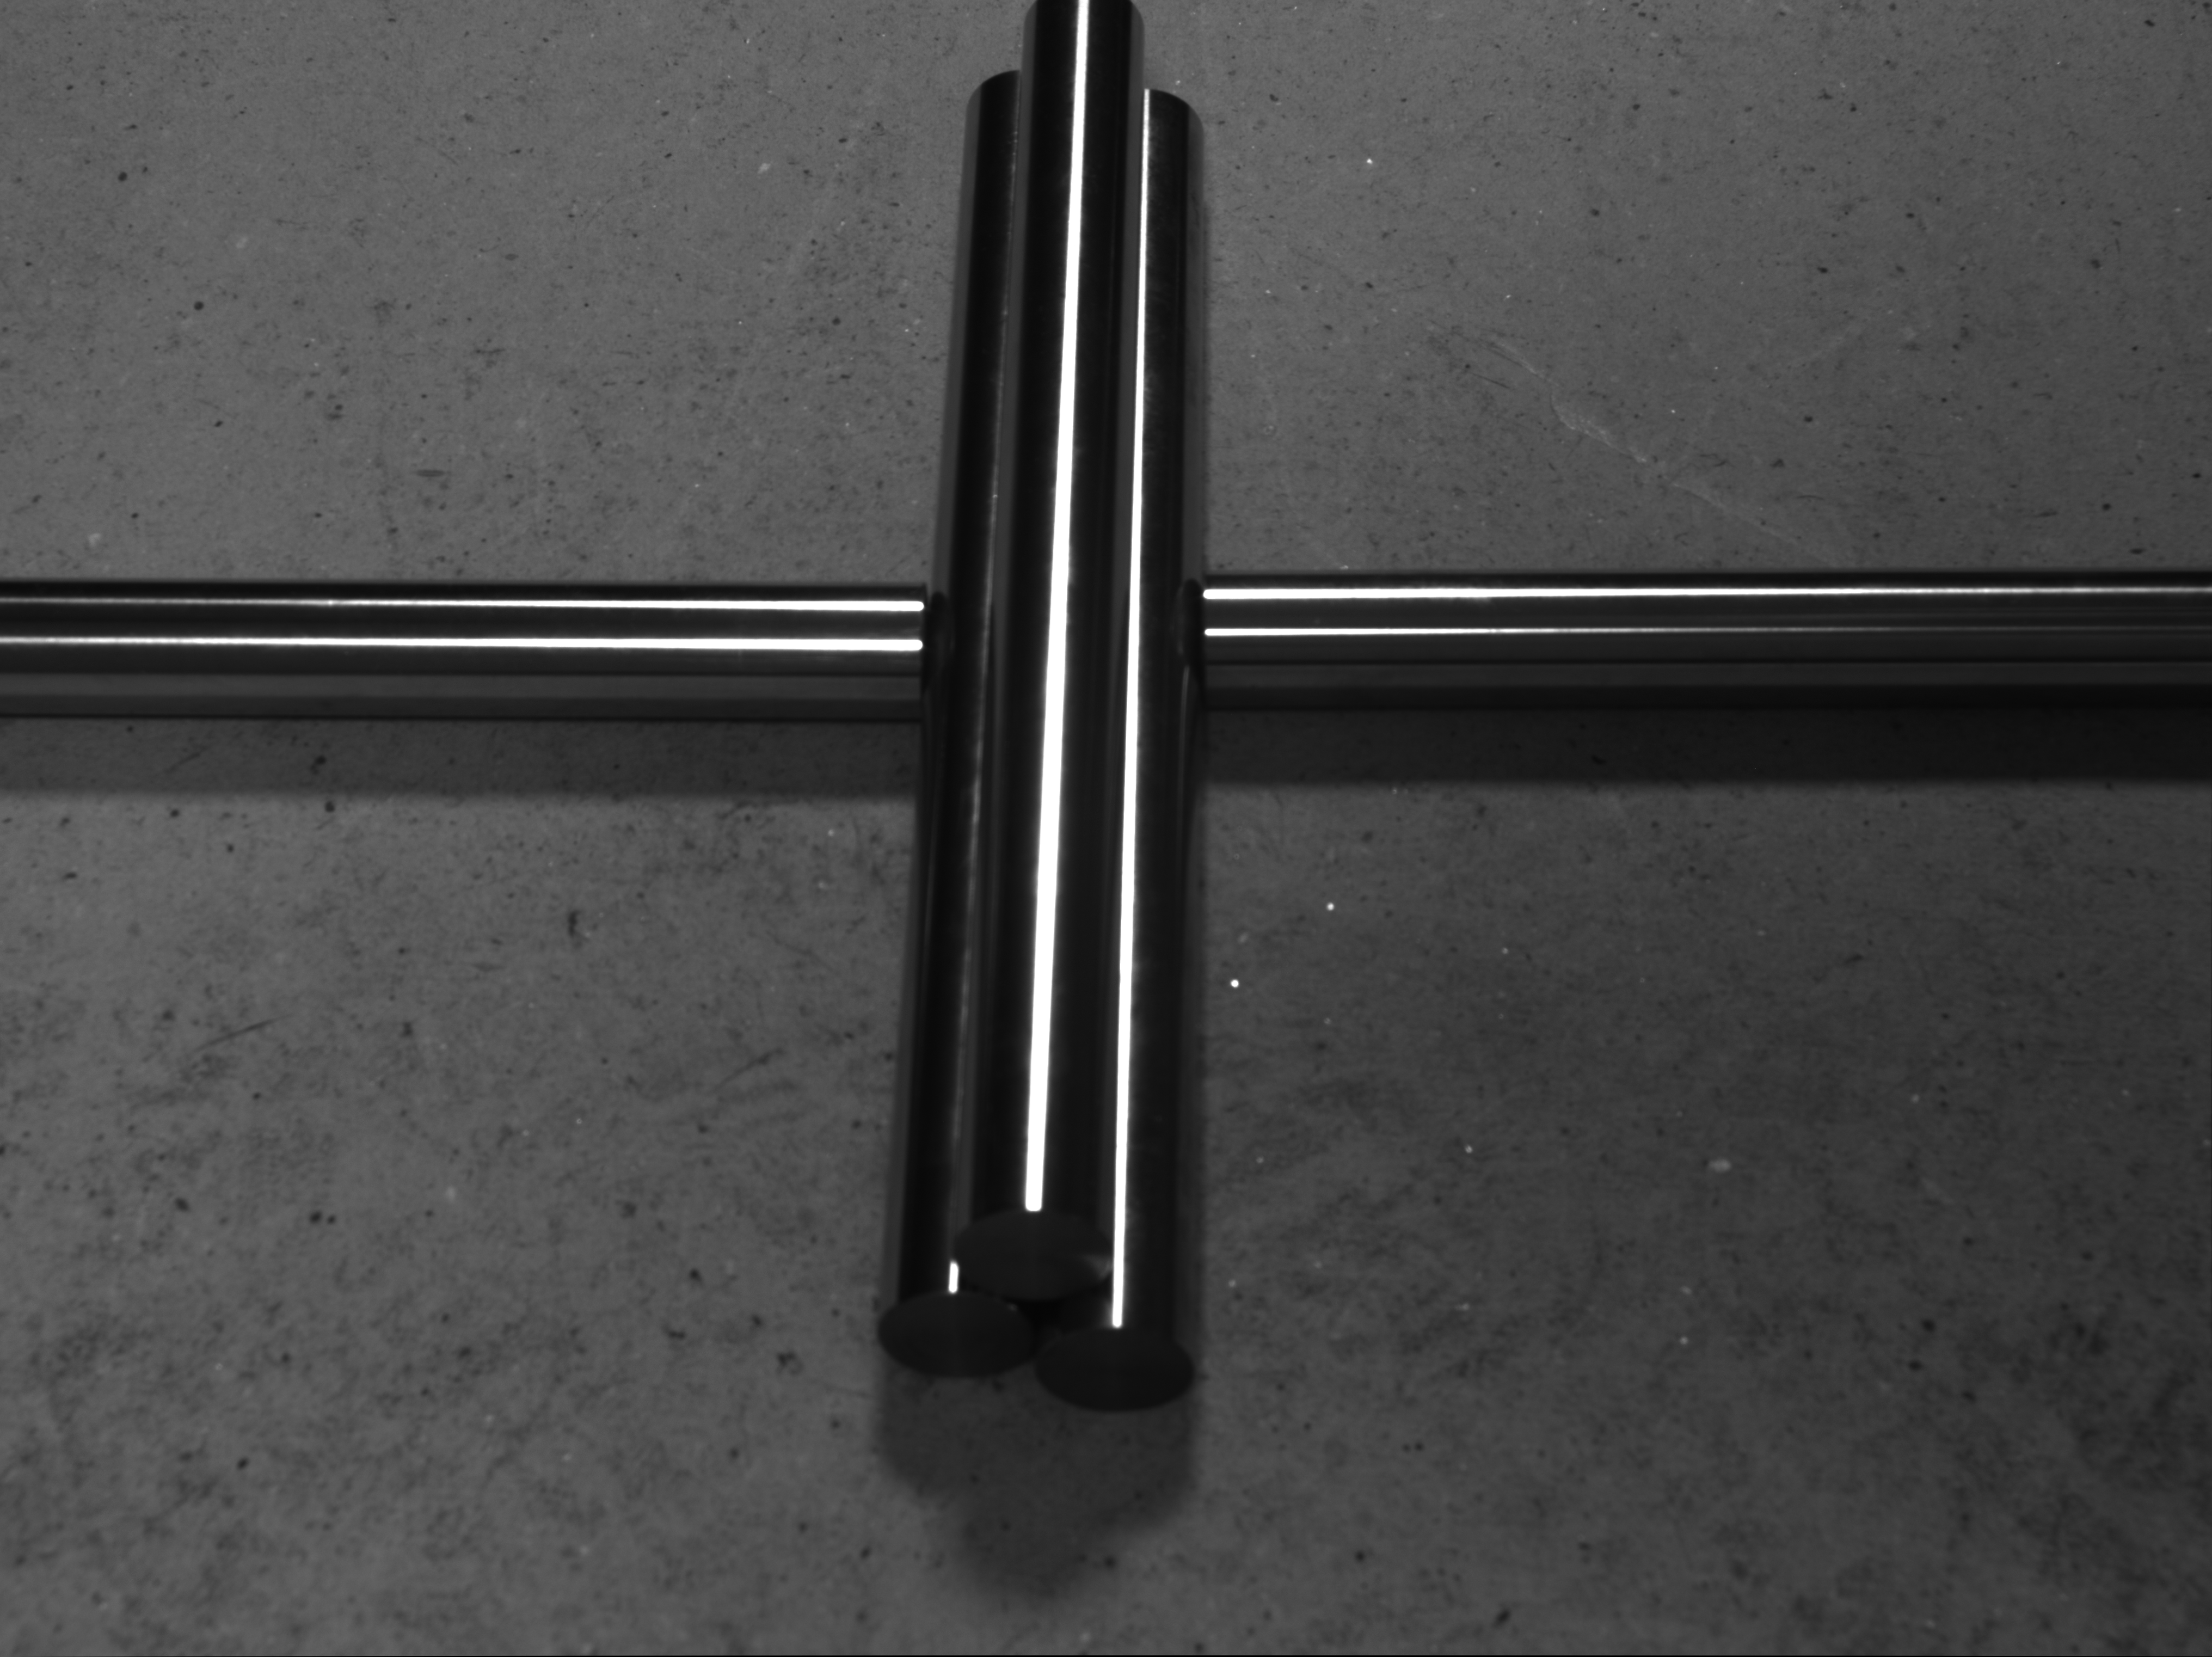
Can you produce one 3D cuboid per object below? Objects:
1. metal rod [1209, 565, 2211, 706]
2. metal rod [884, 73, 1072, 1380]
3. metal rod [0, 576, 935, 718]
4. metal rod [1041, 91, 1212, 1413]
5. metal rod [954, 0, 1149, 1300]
[{"bbox_3d":[0.169,-0.036,0.672,0.300,0.025,0.025,0,50,0],"label":"metal rod"},{"bbox_3d":[-0.019,-0.034,0.672,0.025,0.025,0.300,1,50,1],"label":"metal rod"},{"bbox_3d":[-0.181,-0.034,0.670,0.300,0.025,0.025,0,50,0],"label":"metal rod"},{"bbox_3d":[0.006,-0.030,0.668,0.025,0.025,0.300,1,50,1],"label":"metal rod"},{"bbox_3d":[-0.007,-0.049,0.658,0.025,0.025,0.300,1,50,1],"label":"metal rod"}]
